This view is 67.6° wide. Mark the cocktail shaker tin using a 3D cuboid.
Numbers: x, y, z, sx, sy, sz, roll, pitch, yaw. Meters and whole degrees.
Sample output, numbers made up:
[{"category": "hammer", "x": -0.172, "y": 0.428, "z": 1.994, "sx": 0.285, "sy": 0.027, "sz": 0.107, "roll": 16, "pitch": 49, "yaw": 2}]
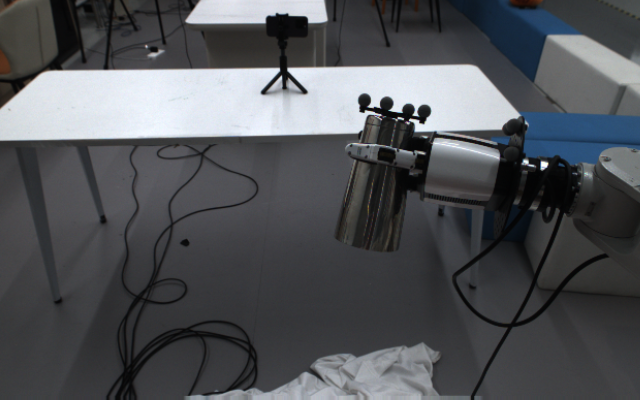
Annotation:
[{"category": "cocktail shaker tin", "x": 0.082, "y": -0.028, "z": 0.659, "sx": 0.093, "sy": 0.170, "sz": 0.093, "roll": 10, "pitch": 9, "yaw": -2}]
